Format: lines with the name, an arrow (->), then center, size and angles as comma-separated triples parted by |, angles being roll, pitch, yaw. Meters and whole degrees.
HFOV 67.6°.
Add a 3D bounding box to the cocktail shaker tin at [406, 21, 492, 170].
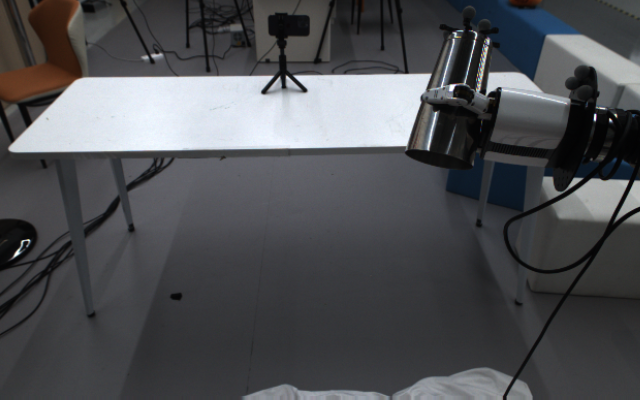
cocktail shaker tin -> 0.182, -0.136, 0.656 | 0.093, 0.170, 0.093 | 16, -4, 1
